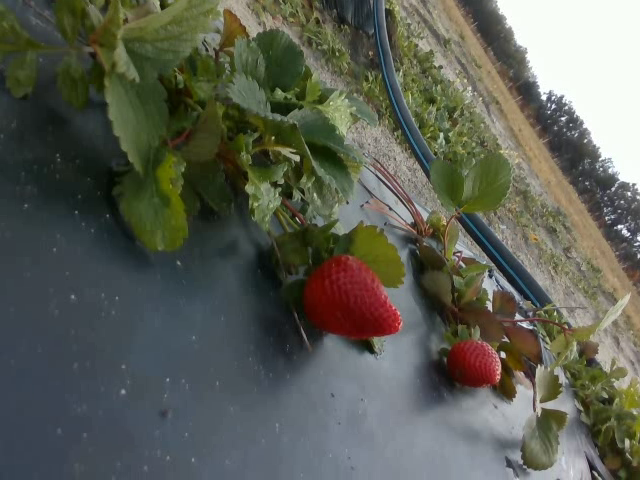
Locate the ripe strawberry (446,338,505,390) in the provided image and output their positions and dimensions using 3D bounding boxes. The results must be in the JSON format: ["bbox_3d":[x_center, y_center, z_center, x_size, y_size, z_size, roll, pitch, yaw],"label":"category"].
[{"bbox_3d":[0.105,0.086,0.385,0.042,0.044,0.052,-8,10,-9],"label":"ripe strawberry"}]

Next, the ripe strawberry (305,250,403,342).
[{"bbox_3d":[0.018,0.030,0.267,0.046,0.051,0.050,-37,32,-28],"label":"ripe strawberry"}]
